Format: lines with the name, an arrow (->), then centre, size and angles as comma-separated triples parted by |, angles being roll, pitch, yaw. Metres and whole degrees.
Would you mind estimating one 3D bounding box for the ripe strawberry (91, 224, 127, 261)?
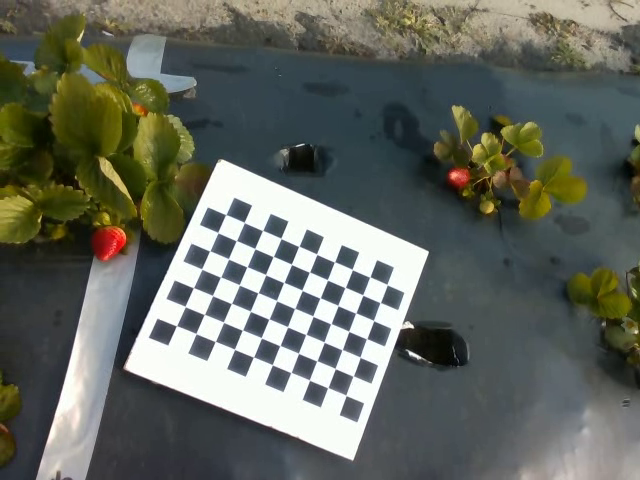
ripe strawberry -> -0.228, 0.007, 0.661 | 0.050, 0.055, 0.035 | 19, -31, -13
